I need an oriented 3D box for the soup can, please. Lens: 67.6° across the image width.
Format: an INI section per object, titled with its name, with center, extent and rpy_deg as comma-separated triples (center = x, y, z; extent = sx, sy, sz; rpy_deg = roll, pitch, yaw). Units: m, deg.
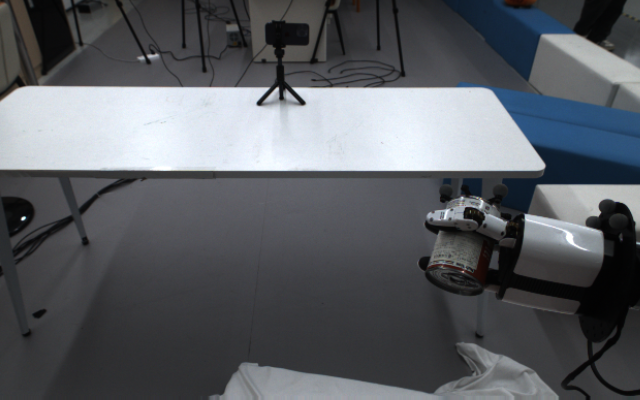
[soup can]
center = 0.175, 0.053, 0.582
extent = 0.067, 0.067, 0.101
rpy_deg = 14, 65, 17
